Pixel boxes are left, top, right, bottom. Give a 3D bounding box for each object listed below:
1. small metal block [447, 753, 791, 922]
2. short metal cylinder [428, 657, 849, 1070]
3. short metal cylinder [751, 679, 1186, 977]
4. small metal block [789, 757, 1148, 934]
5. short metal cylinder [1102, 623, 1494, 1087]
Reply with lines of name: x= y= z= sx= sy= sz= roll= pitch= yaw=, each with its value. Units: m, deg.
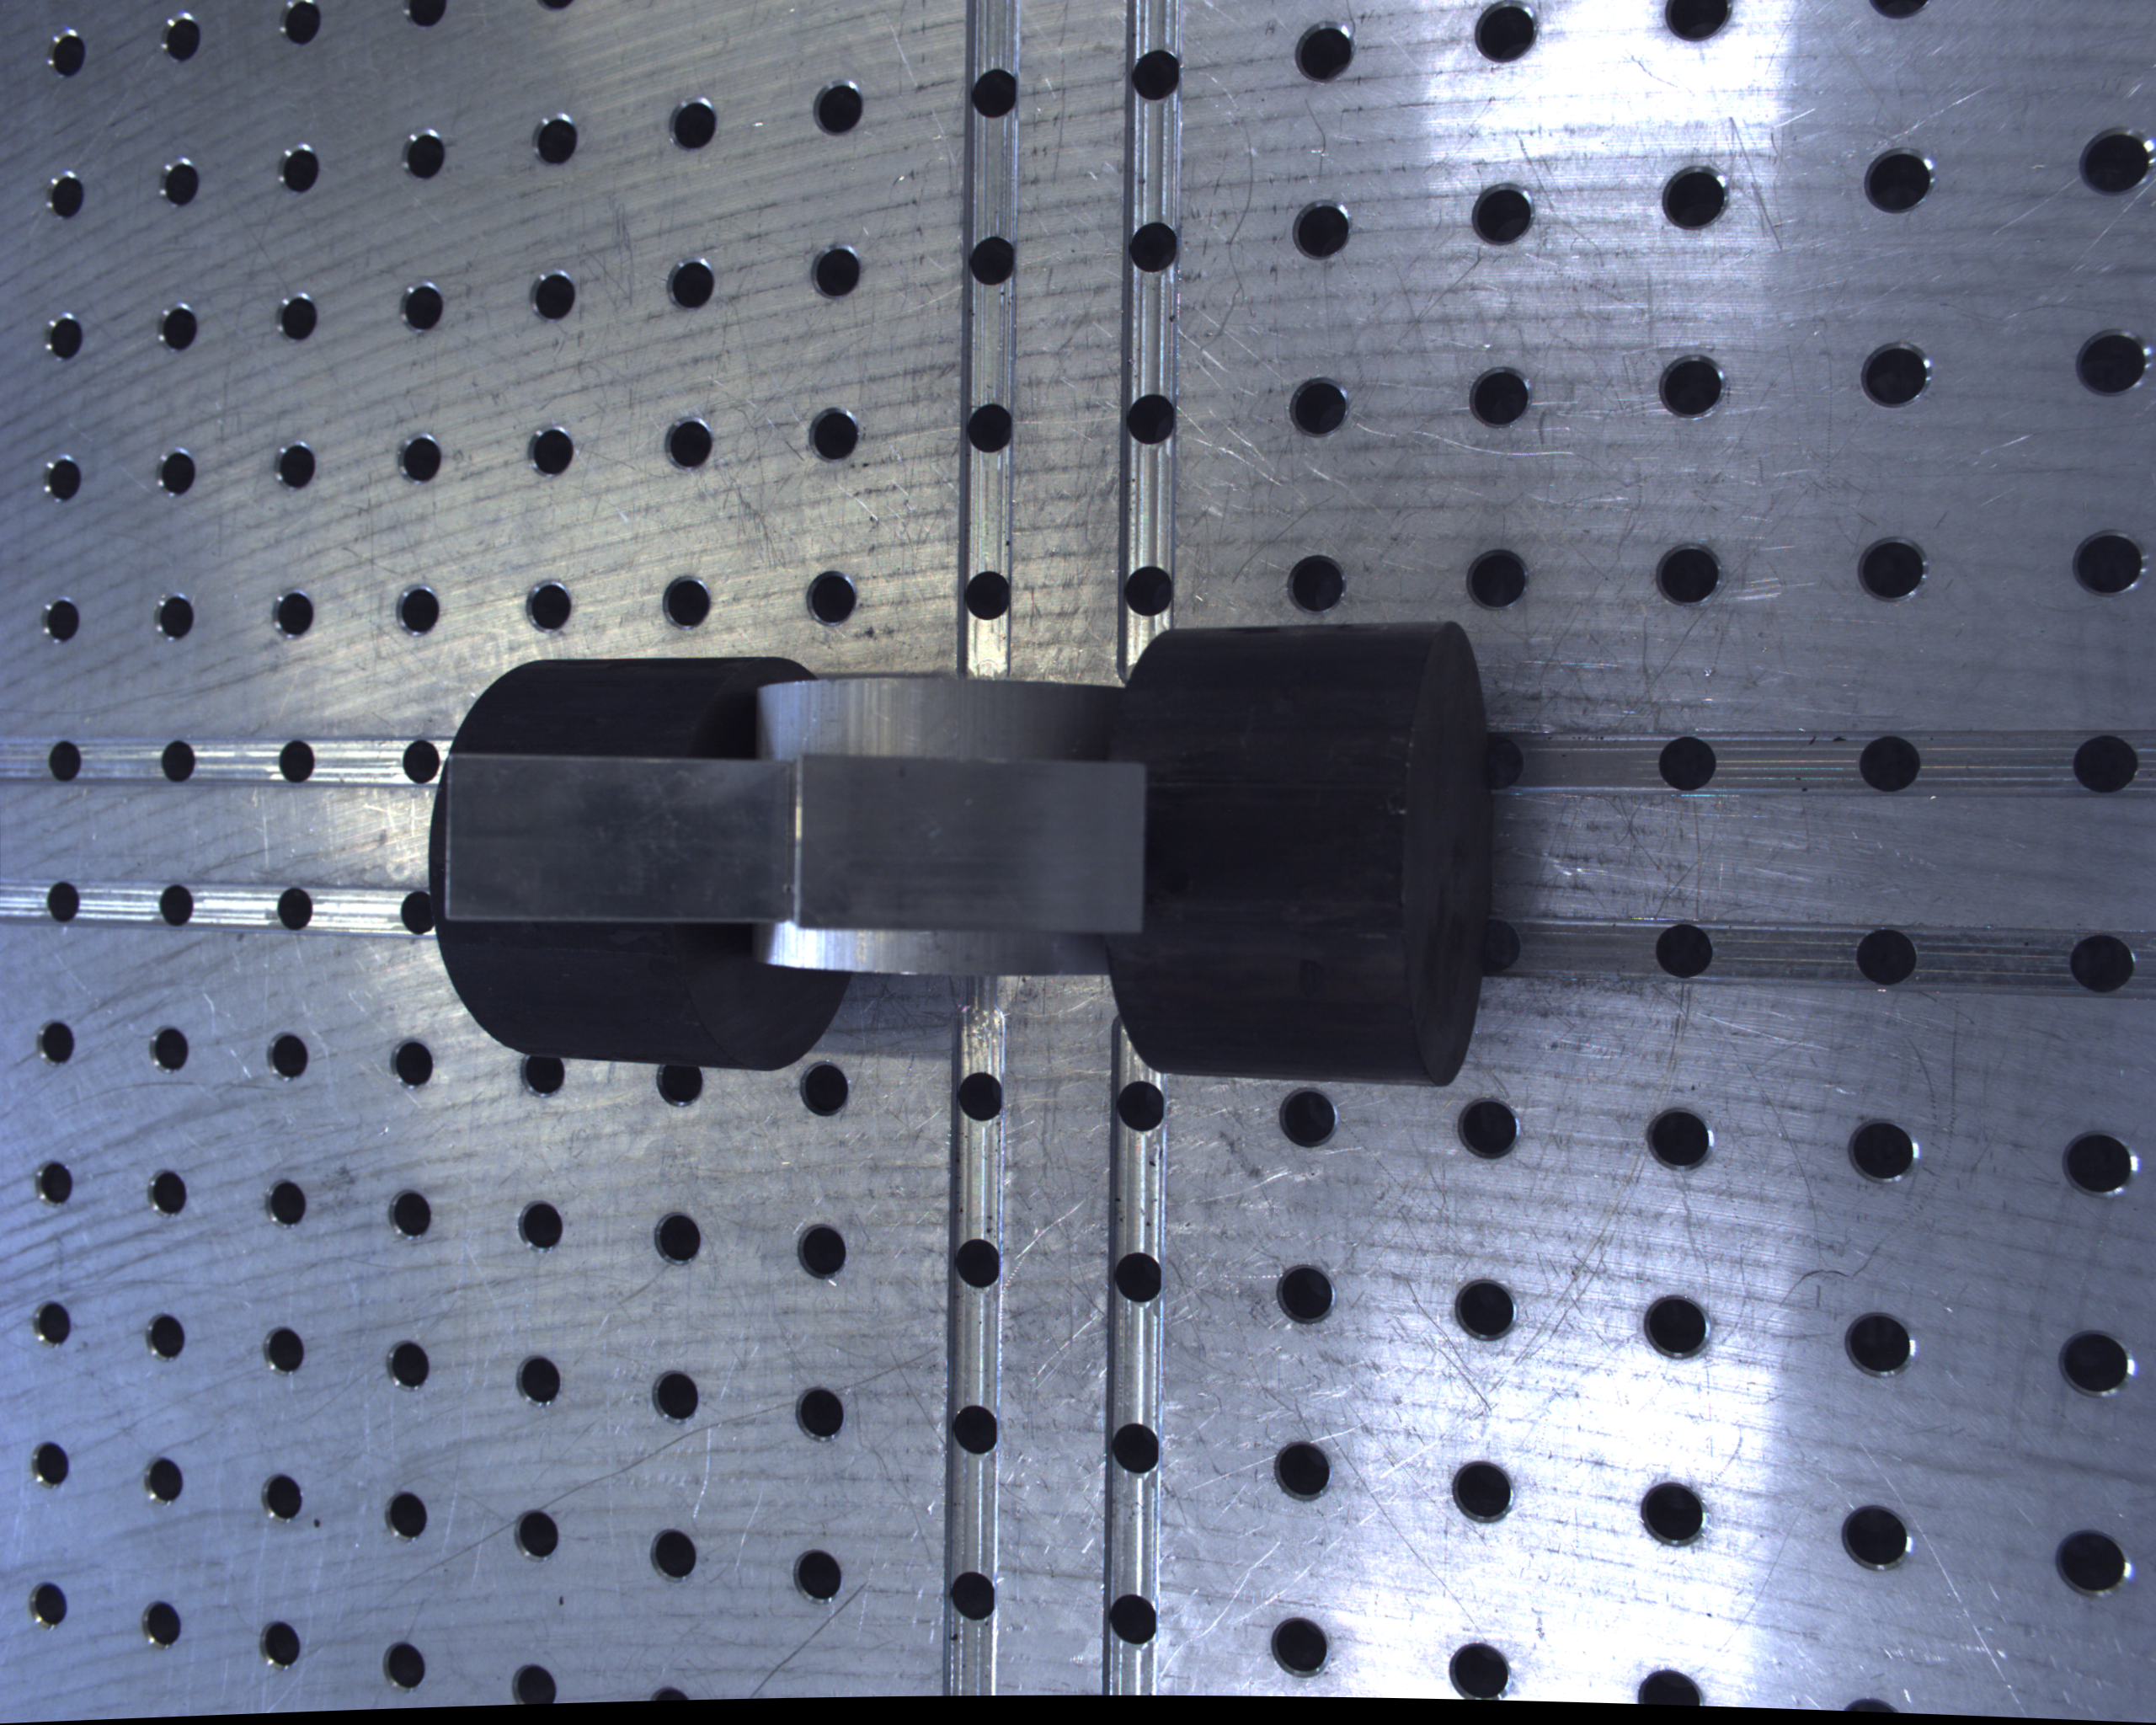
small metal block: x=-0.074 y=-0.004 z=0.339 sx=0.050 sy=0.050 sz=0.025 roll=1 pitch=91 yaw=-12
short metal cylinder: x=-0.082 y=0.000 z=0.412 sx=0.050 sy=0.080 sz=0.079 roll=1 pitch=91 yaw=20
short metal cylinder: x=-0.020 y=-0.006 z=0.390 sx=0.080 sy=0.080 sz=0.050 roll=1 pitch=91 yaw=20
small metal block: x=-0.019 y=-0.003 z=0.324 sx=0.050 sy=0.050 sz=0.025 roll=1 pitch=91 yaw=-11
short metal cylinder: x=0.041 y=-0.002 z=0.368 sx=0.050 sy=0.080 sz=0.079 roll=1 pitch=90 yaw=21
